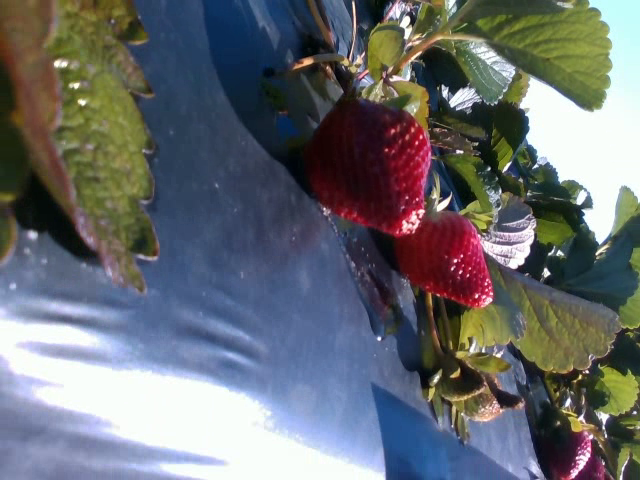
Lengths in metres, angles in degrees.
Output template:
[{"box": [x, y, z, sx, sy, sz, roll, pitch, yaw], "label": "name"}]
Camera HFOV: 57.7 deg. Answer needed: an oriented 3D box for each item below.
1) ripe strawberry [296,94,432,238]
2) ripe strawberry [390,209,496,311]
[{"box": [0.019, -0.019, 0.176, 0.044, 0.051, 0.050, -27, 42, -5], "label": "ripe strawberry"}, {"box": [0.053, 0.011, 0.233, 0.042, 0.049, 0.039, -16, -33, -38], "label": "ripe strawberry"}]
